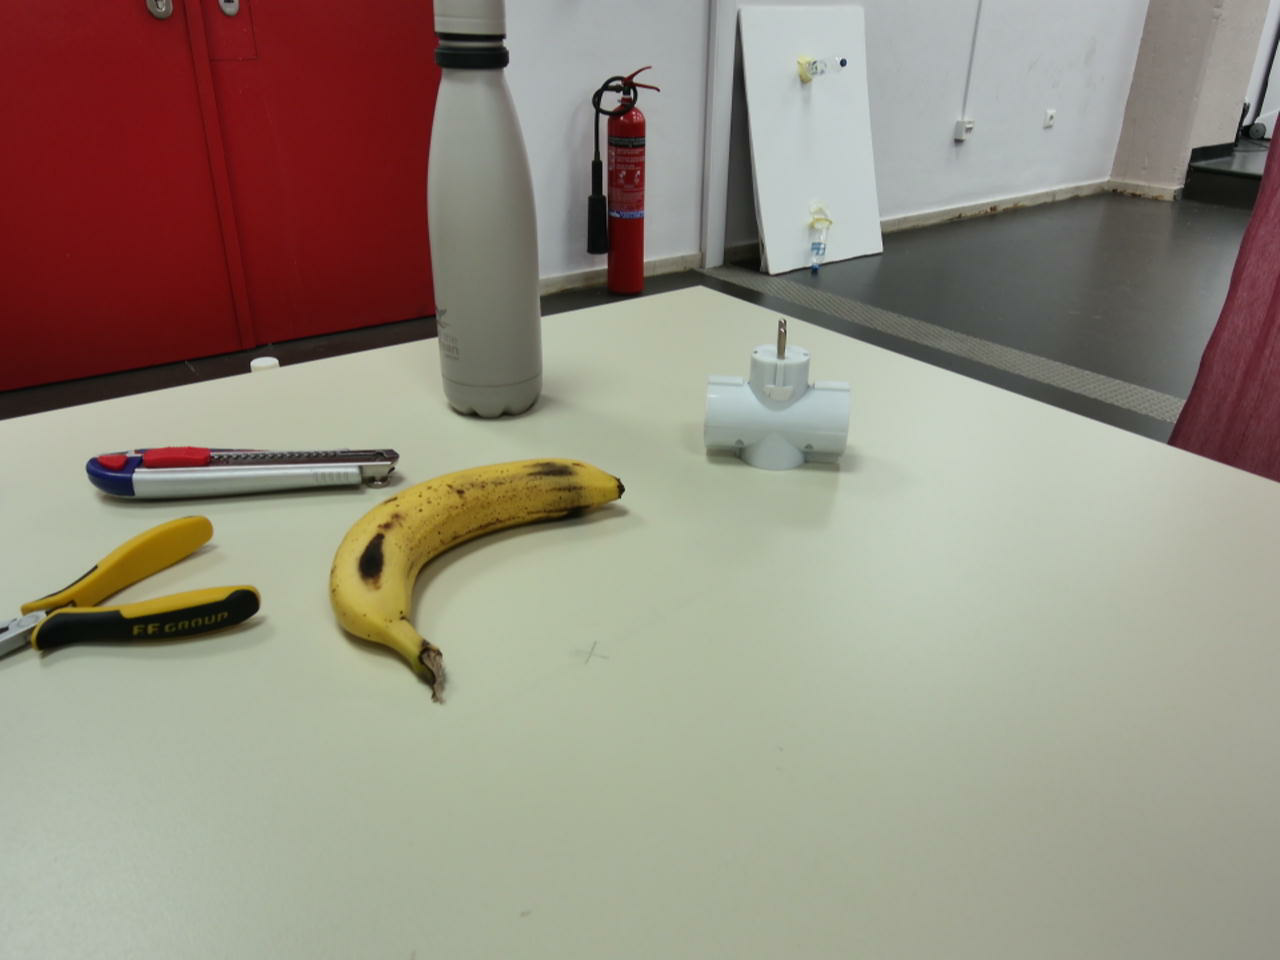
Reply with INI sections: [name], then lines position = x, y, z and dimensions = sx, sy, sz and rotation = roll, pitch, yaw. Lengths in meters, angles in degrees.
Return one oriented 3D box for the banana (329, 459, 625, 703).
[banana]
position = -0.088, 0.030, 0.508
dimensions = 0.097, 0.038, 0.186
rotation = 12, 27, 22
